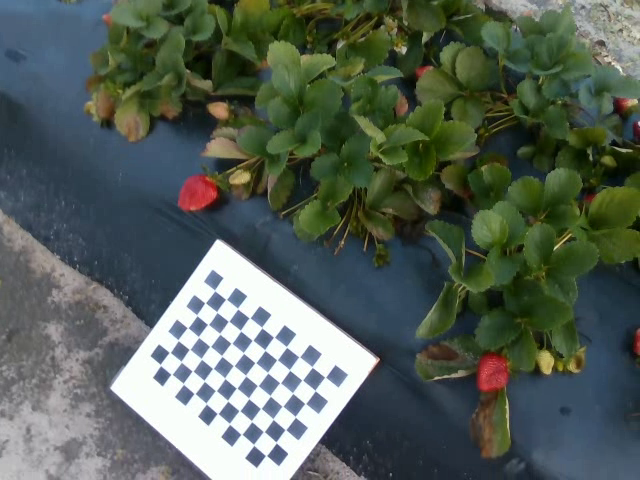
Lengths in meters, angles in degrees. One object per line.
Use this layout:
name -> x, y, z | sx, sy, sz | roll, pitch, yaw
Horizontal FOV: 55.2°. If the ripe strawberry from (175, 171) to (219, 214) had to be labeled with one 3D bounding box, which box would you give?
ripe strawberry -> -0.206, -0.080, 0.999 | 0.067, 0.075, 0.039 | 40, 1, 17
